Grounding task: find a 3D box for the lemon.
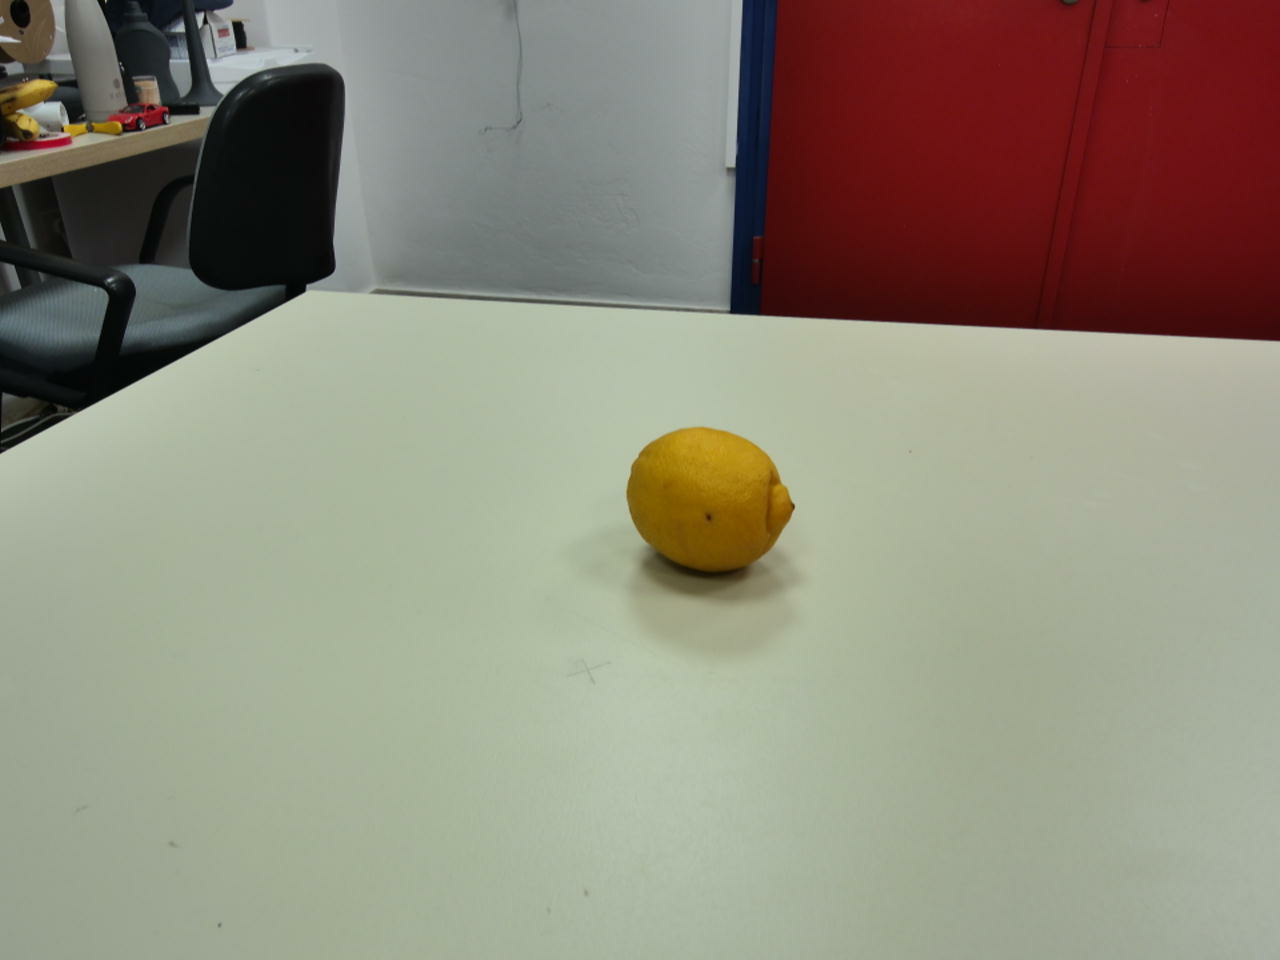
[{"bbox_3d":[0.028,0.009,0.424,0.060,0.059,0.067,-16,28,-31],"label":"lemon"}]
